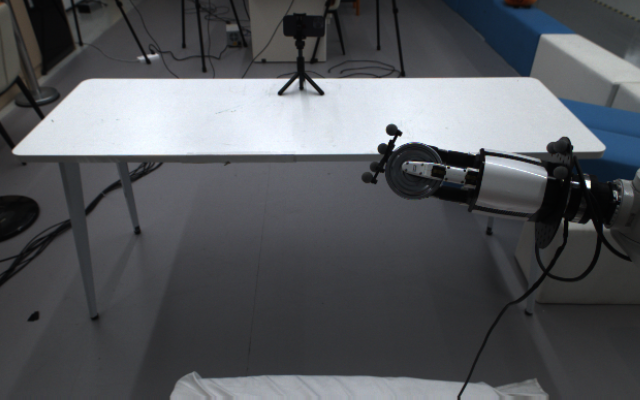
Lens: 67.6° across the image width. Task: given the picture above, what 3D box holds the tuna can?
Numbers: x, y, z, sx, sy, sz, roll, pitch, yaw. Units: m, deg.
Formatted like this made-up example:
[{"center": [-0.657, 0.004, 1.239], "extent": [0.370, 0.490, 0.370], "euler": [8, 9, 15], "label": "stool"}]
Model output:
[{"center": [0.142, -0.045, 0.719], "extent": [0.085, 0.085, 0.034], "euler": [9, 4, 10], "label": "tuna can"}]
